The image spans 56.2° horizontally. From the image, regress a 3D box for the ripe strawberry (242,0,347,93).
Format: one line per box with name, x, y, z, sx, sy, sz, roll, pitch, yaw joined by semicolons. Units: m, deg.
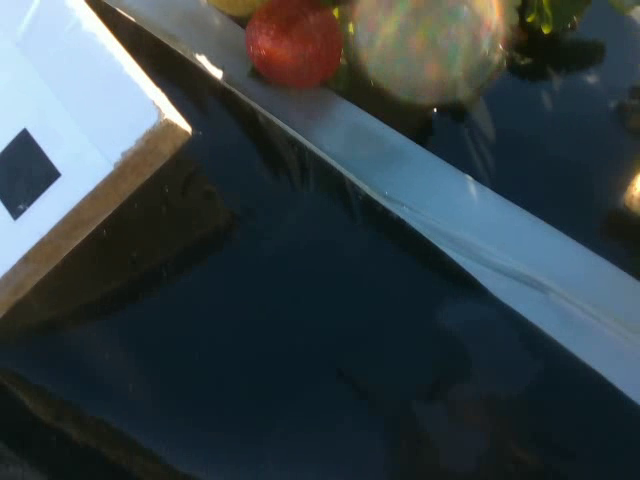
ripe strawberry;-0.014;-0.083;0.249;0.045;0.049;0.064;-19;17;15
